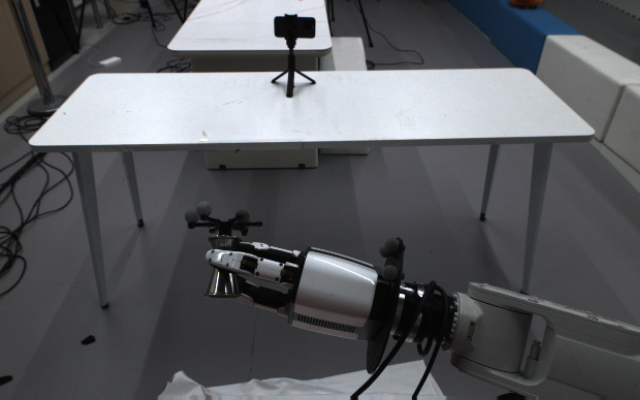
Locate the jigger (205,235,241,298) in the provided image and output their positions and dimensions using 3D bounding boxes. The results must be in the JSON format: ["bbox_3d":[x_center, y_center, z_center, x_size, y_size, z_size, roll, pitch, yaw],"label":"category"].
[{"bbox_3d":[-0.111,0.078,0.565,0.043,0.043,0.071,0,75,-3],"label":"jigger"}]
